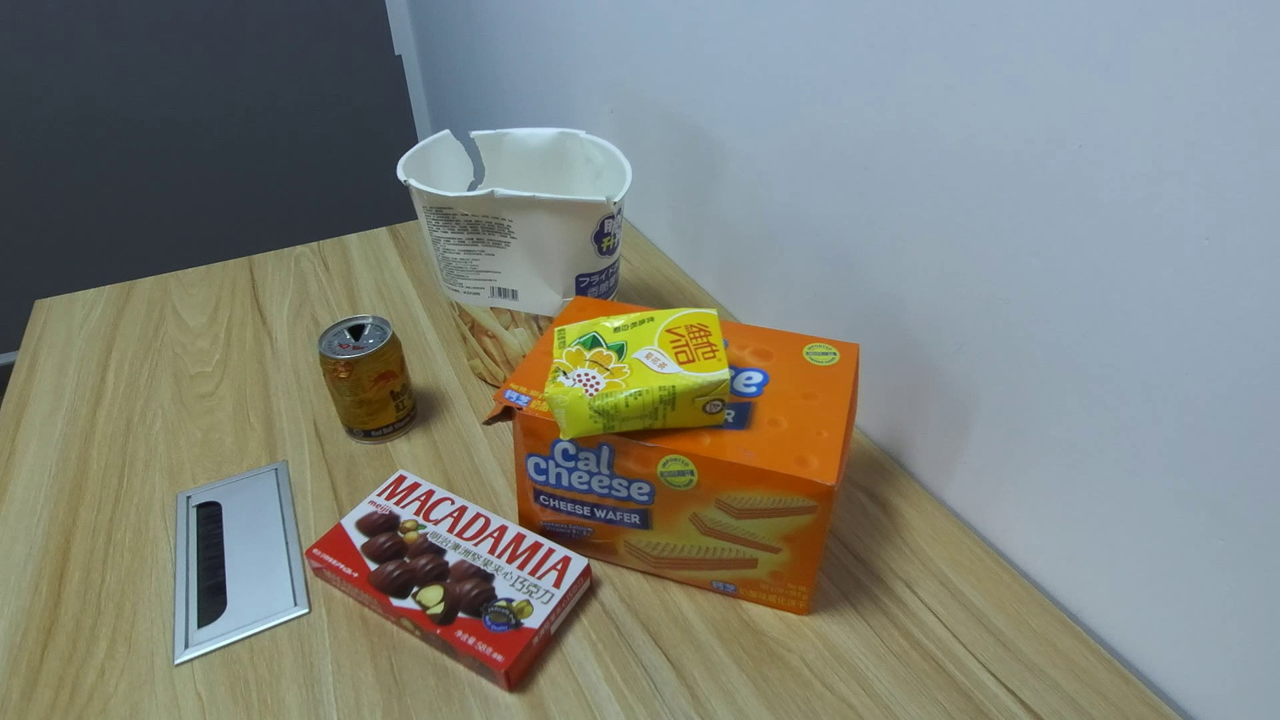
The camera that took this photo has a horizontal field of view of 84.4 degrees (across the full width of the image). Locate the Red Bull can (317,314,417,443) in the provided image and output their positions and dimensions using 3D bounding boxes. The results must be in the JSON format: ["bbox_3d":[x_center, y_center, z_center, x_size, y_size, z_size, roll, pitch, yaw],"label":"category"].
[{"bbox_3d":[-0.232,0.017,0.604,0.068,0.093,0.068,0,36,1],"label":"Red Bull can"}]

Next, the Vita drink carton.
[{"bbox_3d":[-0.001,0.009,0.439,0.108,0.042,0.087,-5,45,2],"label":"Vita drink carton"}]

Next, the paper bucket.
[{"bbox_3d":[-0.104,-0.094,0.652,0.202,0.197,0.145,3,37,5],"label":"paper bucket"}]

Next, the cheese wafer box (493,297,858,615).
[{"bbox_3d":[0.030,0.057,0.506,0.226,0.137,0.150,11,40,16],"label":"cheese wafer box"}]

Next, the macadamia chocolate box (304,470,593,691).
[{"bbox_3d":[-0.132,0.144,0.489,0.177,0.027,0.096,20,41,23],"label":"macadamia chocolate box"}]
